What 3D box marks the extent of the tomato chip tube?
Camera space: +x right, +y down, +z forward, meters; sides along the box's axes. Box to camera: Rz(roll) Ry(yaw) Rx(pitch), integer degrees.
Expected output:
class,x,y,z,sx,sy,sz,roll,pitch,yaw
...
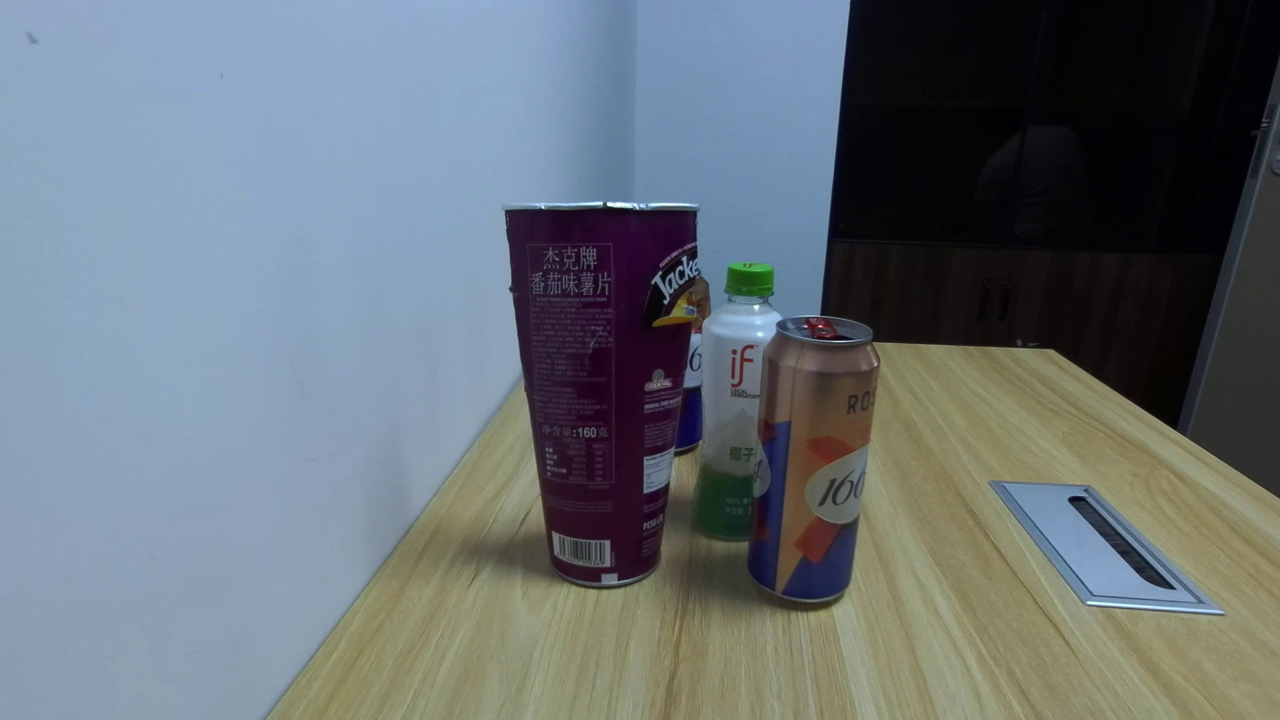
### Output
class,x,y,z,sx,sy,sz,roll,pitch,yaw
tomato chip tube,-0.018,0.021,0.442,0.090,0.236,0.078,9,20,29

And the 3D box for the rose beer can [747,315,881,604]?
class,x,y,z,sx,sy,sz,roll,pitch,yaw
rose beer can,0.105,0.062,0.431,0.068,0.169,0.068,2,18,0

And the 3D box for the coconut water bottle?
class,x,y,z,sx,sy,sz,roll,pitch,yaw
coconut water bottle,0.072,0.029,0.495,0.063,0.188,0.063,2,18,0
